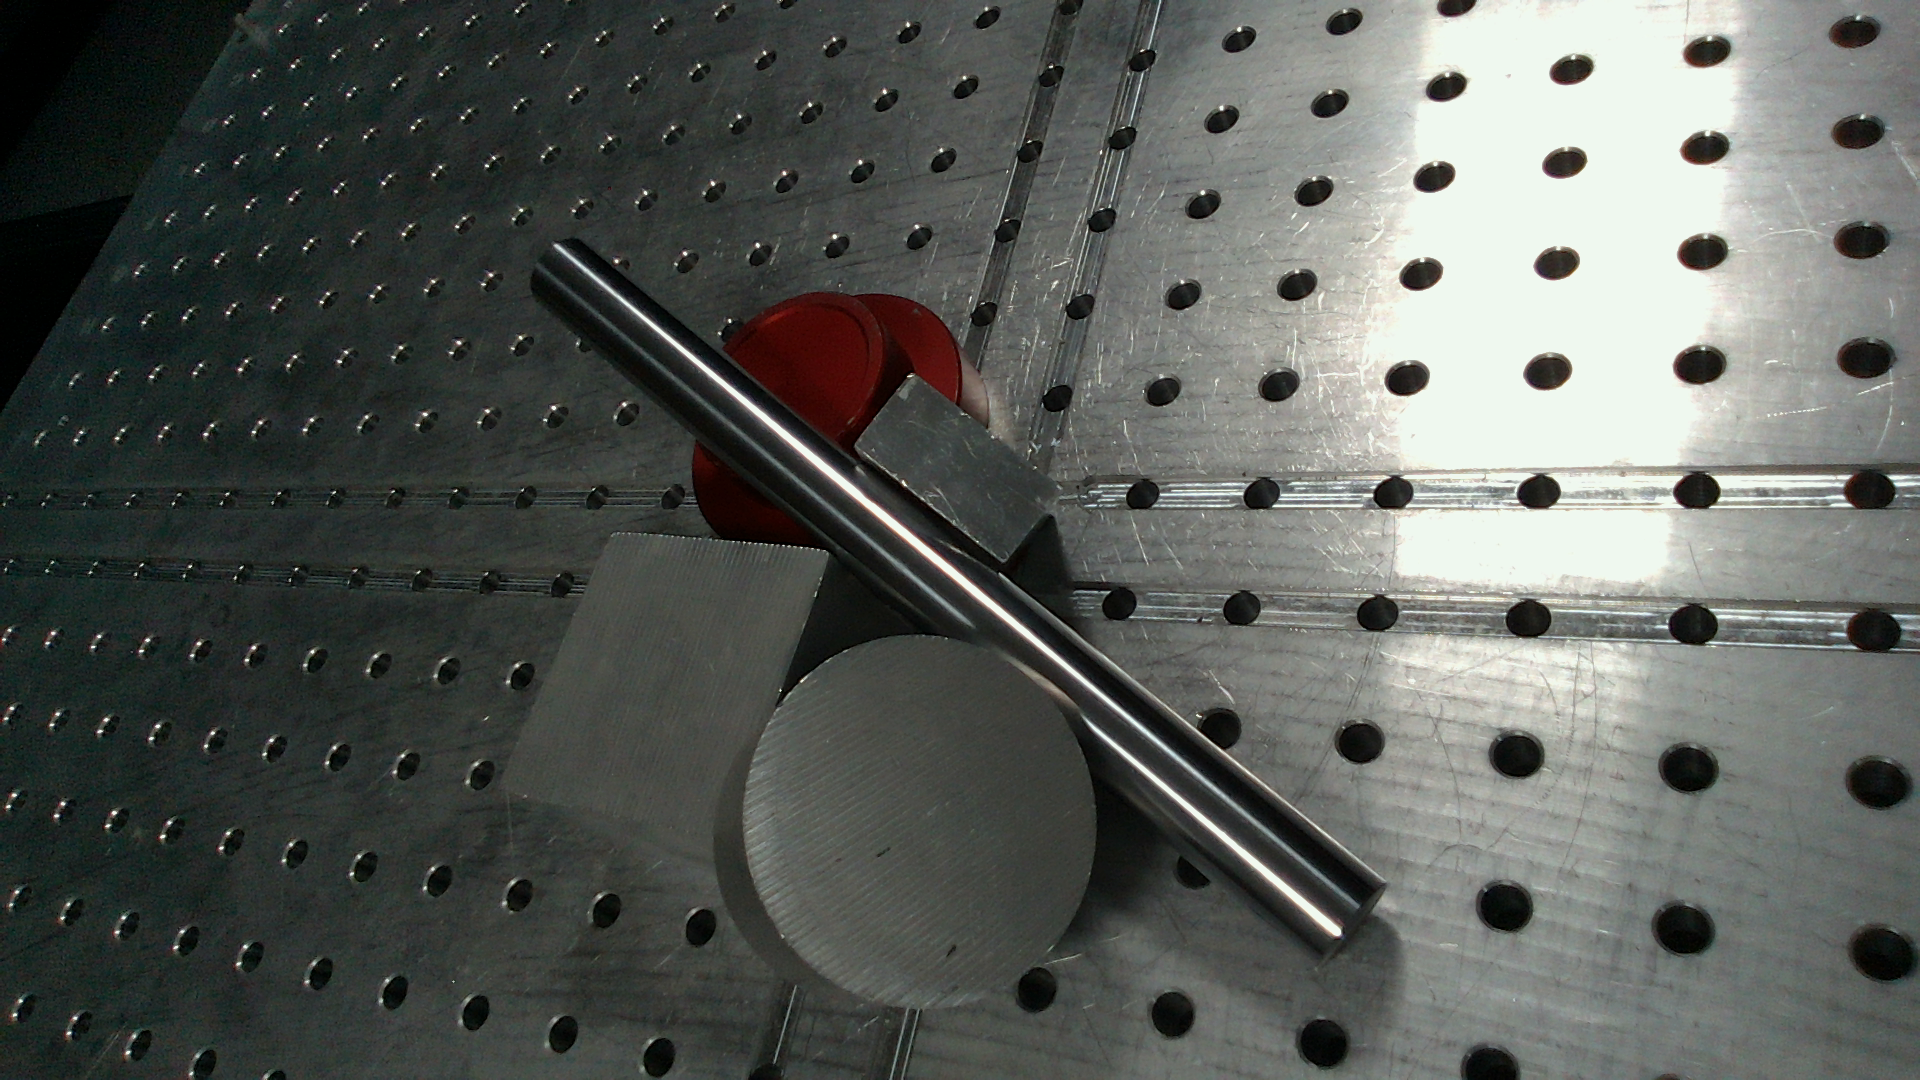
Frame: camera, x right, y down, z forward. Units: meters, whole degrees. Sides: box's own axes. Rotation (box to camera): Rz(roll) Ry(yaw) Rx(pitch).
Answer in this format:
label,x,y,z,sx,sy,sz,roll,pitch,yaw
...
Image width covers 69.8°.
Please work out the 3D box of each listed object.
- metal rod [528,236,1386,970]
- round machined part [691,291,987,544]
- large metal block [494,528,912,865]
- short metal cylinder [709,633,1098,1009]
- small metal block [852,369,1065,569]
label,x,y,z,sx,sy,sz,roll,pitch,yaw
metal rod,-0.020,0.000,0.366,0.299,0.025,0.025,39,84,26
round machined part,-0.044,-0.039,0.434,0.098,0.042,0.098,-13,56,21
large metal block,-0.069,0.046,0.387,0.080,0.050,0.080,5,64,31
short metal cylinder,-0.015,0.066,0.320,0.080,0.050,0.080,6,72,-17
small metal block,0.000,-0.017,0.379,0.050,0.050,0.025,38,85,5
